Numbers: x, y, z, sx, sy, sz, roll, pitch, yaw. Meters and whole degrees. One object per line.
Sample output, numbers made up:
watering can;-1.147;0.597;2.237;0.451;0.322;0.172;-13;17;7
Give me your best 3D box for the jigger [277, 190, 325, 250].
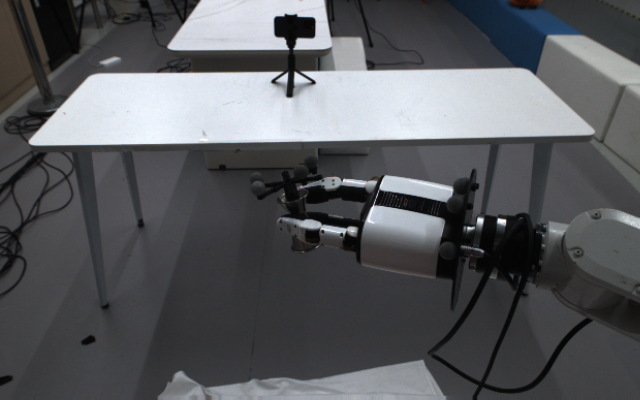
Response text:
jigger;-0.023;0.025;0.595;0.043;0.071;0.043;-14;21;6
